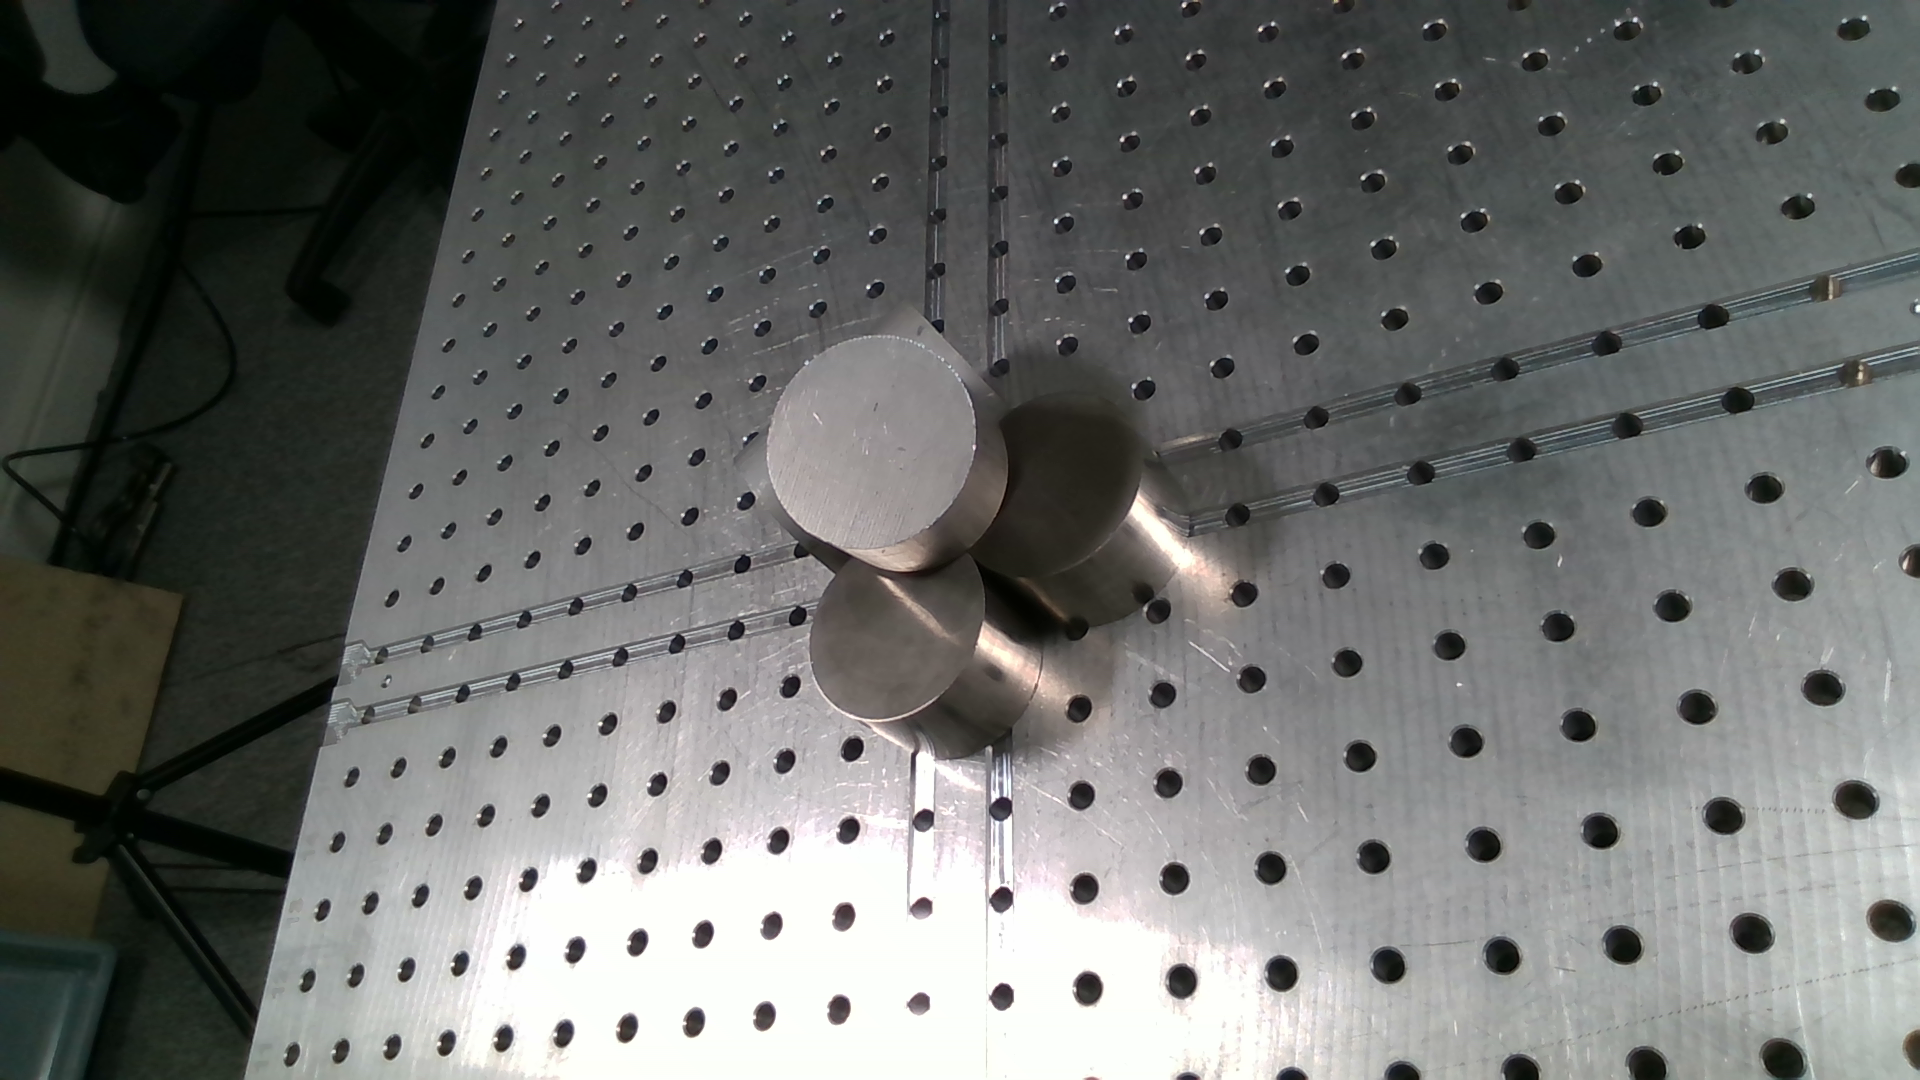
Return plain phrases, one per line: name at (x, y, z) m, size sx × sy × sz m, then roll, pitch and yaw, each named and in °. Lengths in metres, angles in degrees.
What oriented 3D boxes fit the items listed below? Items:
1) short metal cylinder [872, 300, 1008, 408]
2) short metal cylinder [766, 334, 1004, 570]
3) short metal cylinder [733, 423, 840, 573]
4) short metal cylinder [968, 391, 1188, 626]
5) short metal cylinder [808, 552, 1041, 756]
short metal cylinder at (-0.014, -0.058, 0.593) m, size 0.050 × 0.080 × 0.080 m, roll -43°, pitch 51°, yaw 5°
short metal cylinder at (-0.027, -0.032, 0.523) m, size 0.080 × 0.050 × 0.080 m, roll -3°, pitch 80°, yaw 15°
short metal cylinder at (-0.052, -0.025, 0.598) m, size 0.050 × 0.080 × 0.080 m, roll -43°, pitch 51°, yaw 5°
short metal cylinder at (0.045, -0.012, 0.550) m, size 0.080 × 0.050 × 0.080 m, roll -14°, pitch 59°, yaw 25°
short metal cylinder at (-0.014, 0.043, 0.557) m, size 0.080 × 0.050 × 0.080 m, roll -14°, pitch 59°, yaw 25°
